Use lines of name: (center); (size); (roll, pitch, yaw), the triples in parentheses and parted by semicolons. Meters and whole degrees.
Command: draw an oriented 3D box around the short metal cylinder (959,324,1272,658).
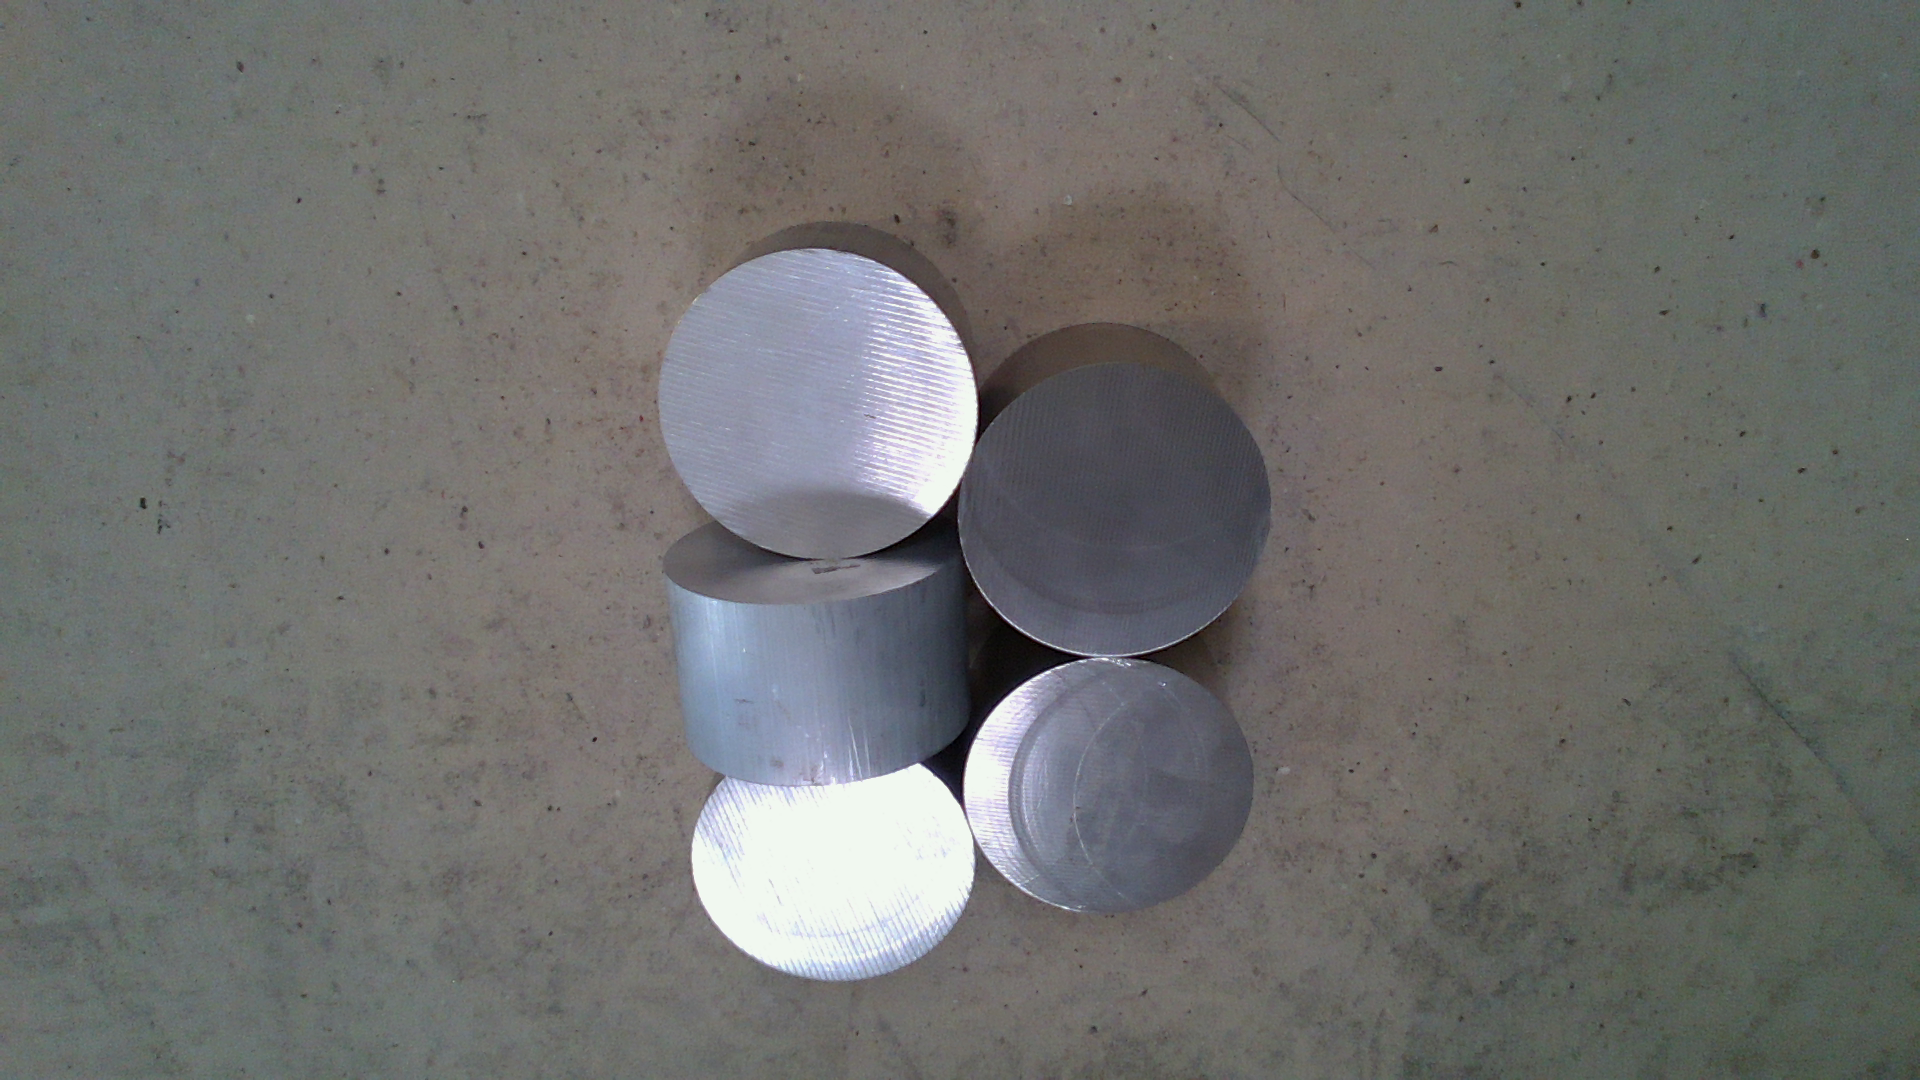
short metal cylinder: (0.040, -0.015, 0.375); (0.080, 0.050, 0.080); (0, 111, 0)

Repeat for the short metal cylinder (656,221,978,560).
short metal cylinder: (-0.035, -0.041, 0.365); (0.080, 0.050, 0.080); (0, 111, 1)

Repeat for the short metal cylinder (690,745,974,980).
short metal cylinder: (-0.036, 0.082, 0.411); (0.080, 0.050, 0.080); (0, 111, 1)

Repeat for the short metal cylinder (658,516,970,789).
short metal cylinder: (-0.038, 0.025, 0.374); (0.080, 0.080, 0.050); (-3, 110, 1)

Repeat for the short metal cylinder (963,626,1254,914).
short metal cylinder: (0.041, 0.061, 0.403); (0.080, 0.050, 0.080); (0, 111, 1)
